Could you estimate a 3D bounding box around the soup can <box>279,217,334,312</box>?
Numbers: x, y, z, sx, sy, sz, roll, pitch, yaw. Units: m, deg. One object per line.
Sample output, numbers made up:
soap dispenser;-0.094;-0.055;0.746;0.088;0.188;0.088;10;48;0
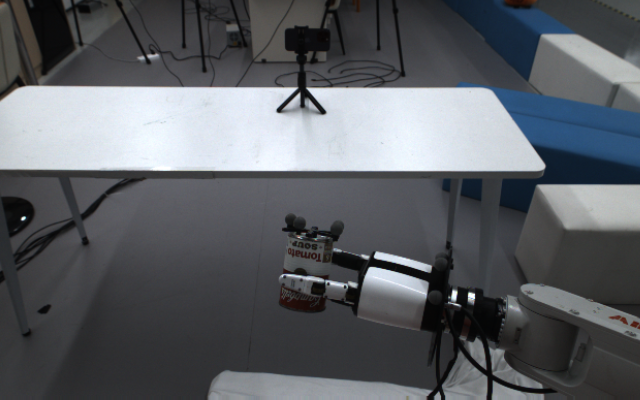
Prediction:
soup can;-0.016;0.099;0.678;0.067;0.101;0.067;7;4;0
